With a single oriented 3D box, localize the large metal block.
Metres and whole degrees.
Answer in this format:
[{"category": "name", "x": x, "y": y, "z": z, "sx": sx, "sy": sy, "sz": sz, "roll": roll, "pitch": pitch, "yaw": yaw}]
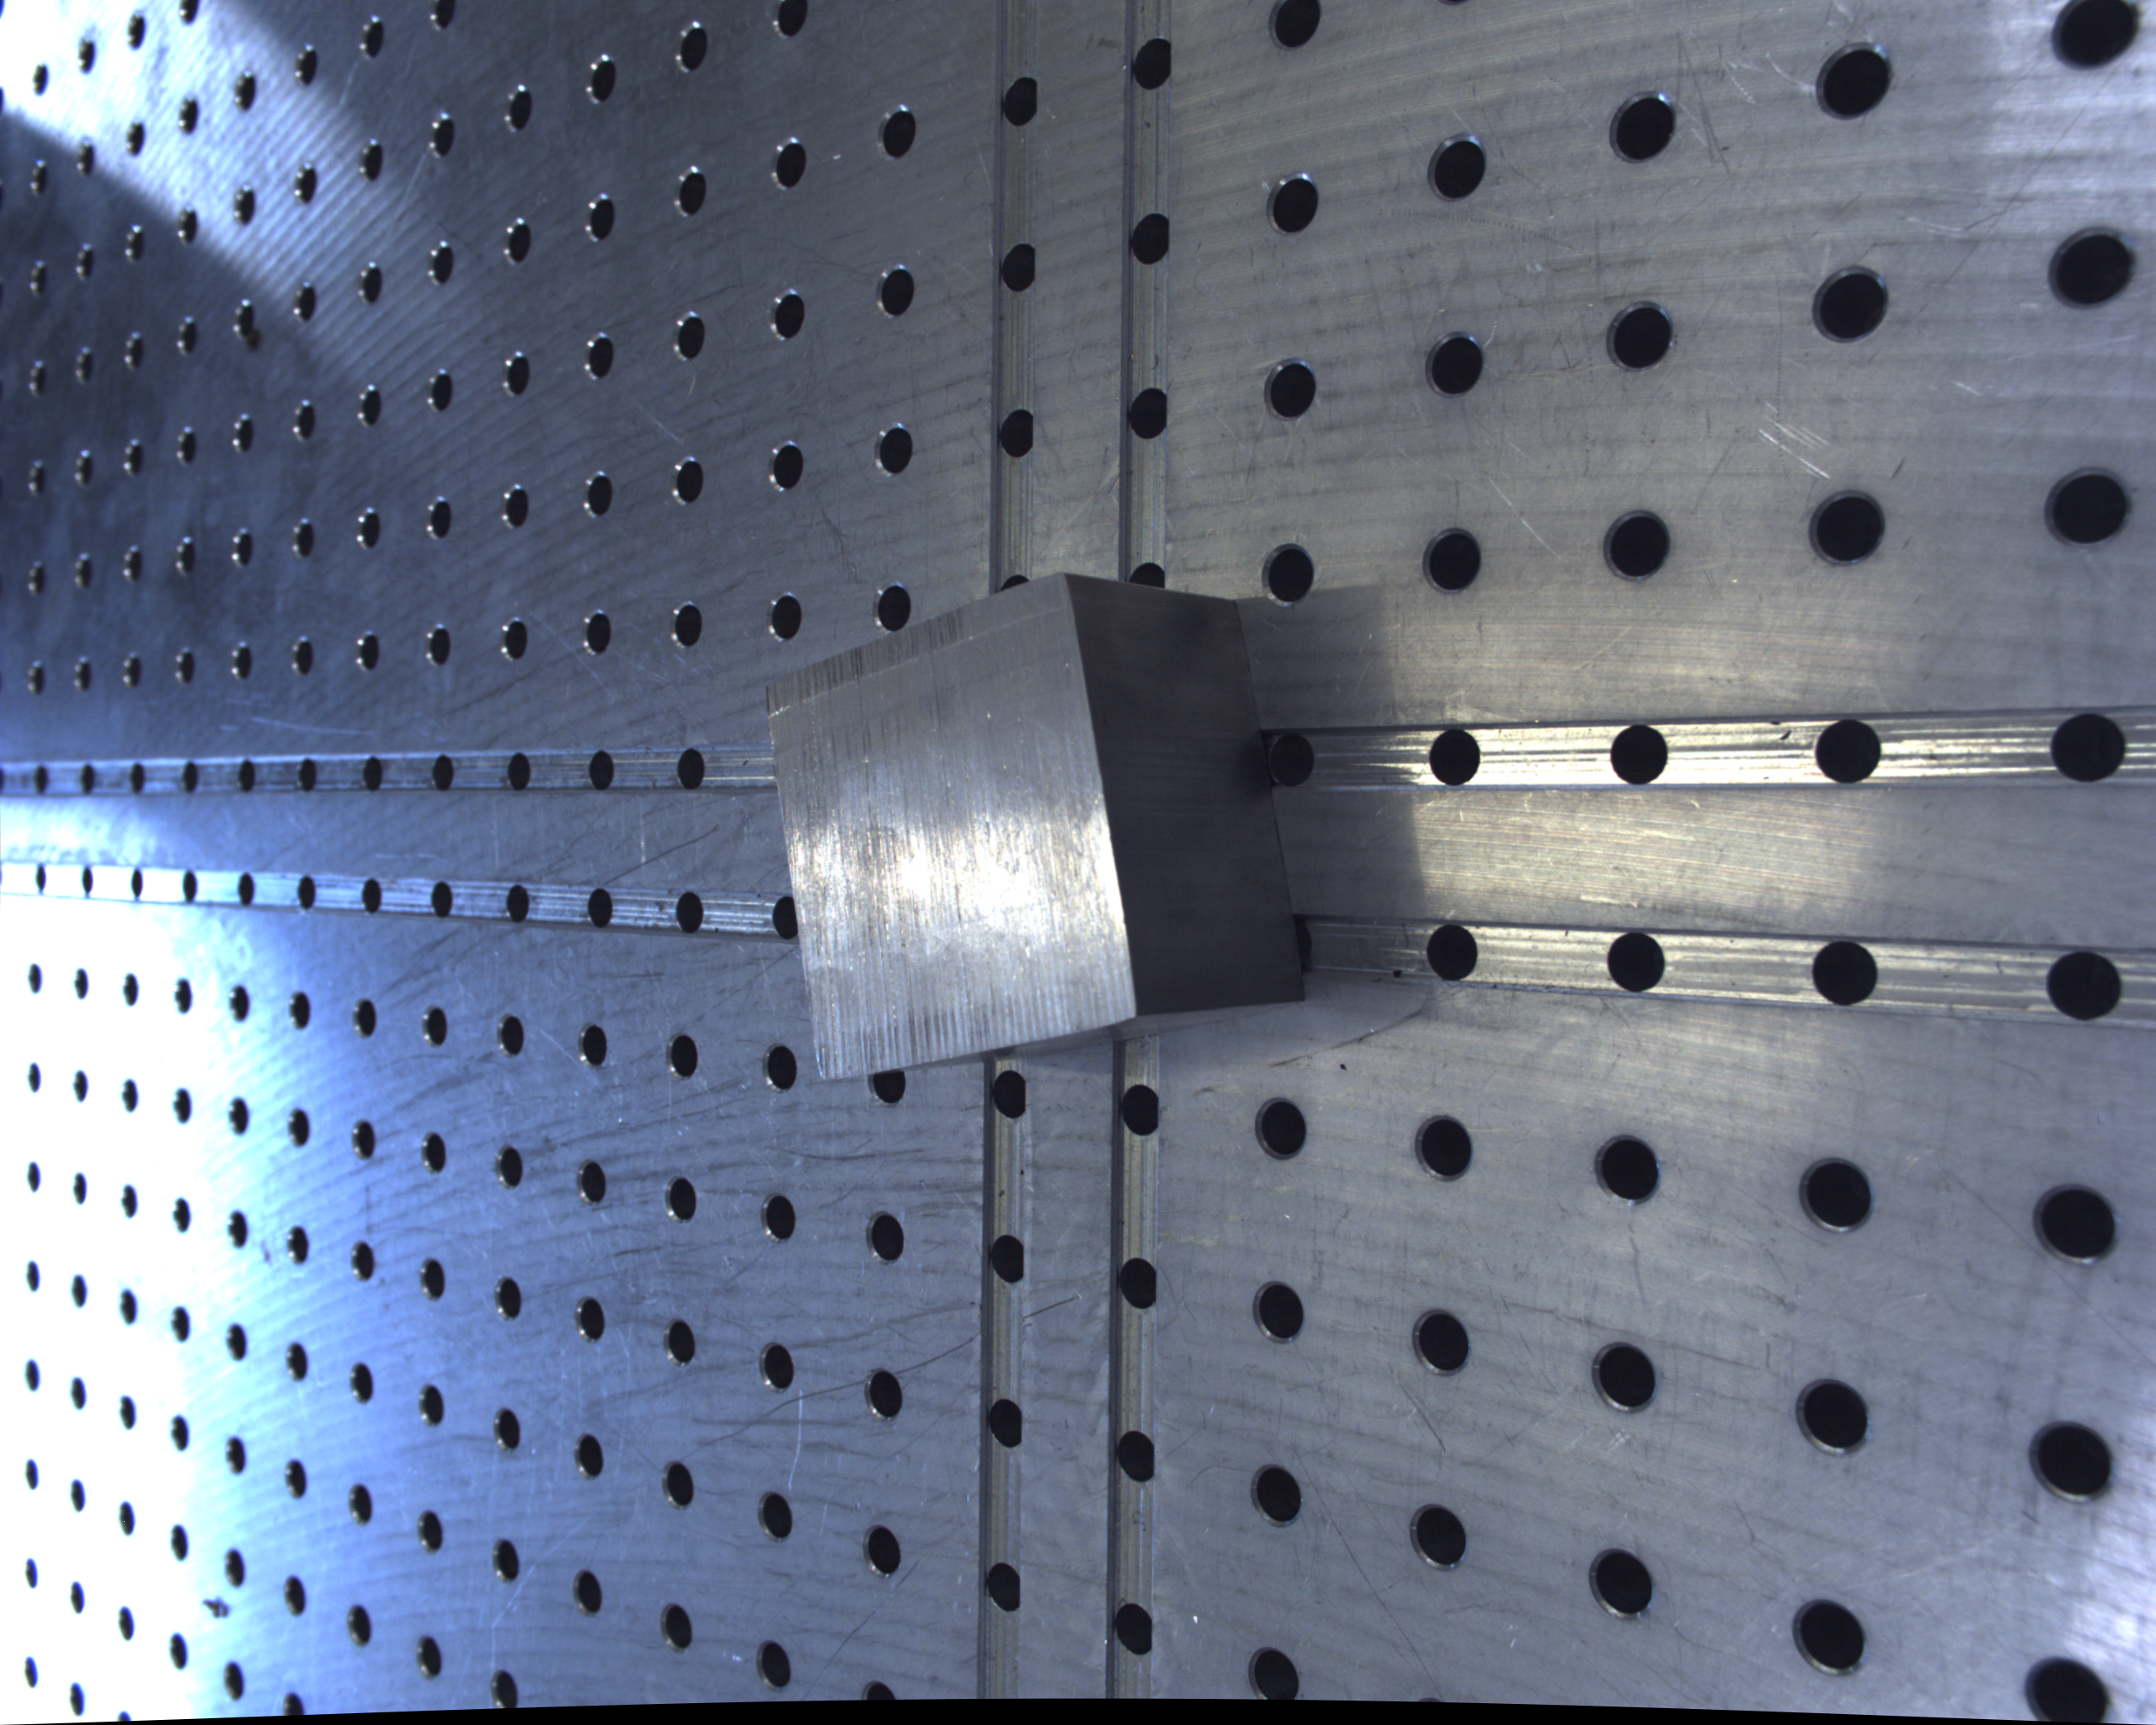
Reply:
[{"category": "large metal block", "x": -0.010, "y": -0.005, "z": 0.401, "sx": 0.080, "sy": 0.050, "sz": 0.080, "roll": -15, "pitch": 81, "yaw": 39}]
